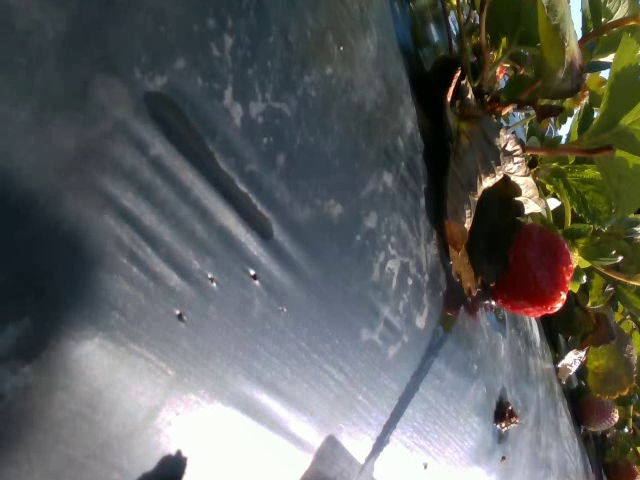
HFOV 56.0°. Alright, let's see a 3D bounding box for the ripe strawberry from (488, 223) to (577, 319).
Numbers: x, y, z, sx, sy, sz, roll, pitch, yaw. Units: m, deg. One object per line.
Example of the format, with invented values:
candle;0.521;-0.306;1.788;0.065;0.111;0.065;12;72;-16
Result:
ripe strawberry;0.076;0.017;0.208;0.037;0.047;0.054;-9;26;10
